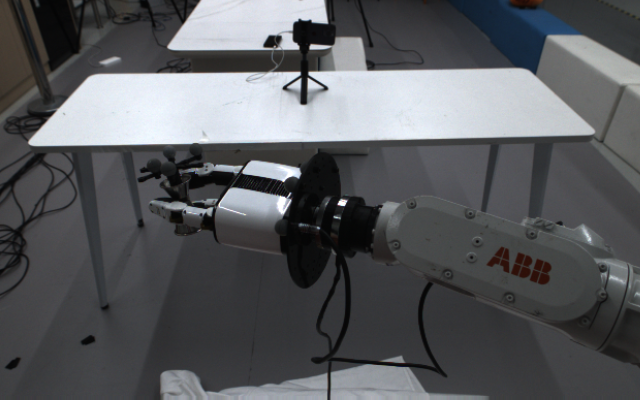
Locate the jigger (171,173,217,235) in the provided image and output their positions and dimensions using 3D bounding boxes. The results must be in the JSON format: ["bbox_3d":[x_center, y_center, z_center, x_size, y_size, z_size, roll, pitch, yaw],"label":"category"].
[{"bbox_3d":[-0.172,0.005,0.624,0.043,0.071,0.043,-10,24,4],"label":"jigger"}]
